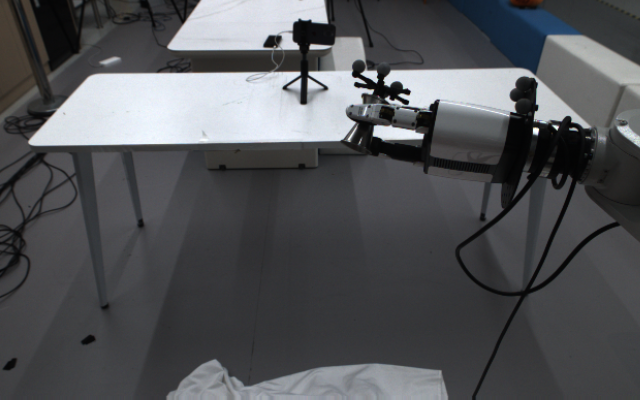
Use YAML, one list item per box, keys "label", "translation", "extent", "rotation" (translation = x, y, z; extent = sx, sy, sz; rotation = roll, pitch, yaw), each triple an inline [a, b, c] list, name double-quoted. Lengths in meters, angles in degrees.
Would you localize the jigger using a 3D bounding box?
- label: "jigger"
  translation: [0.057, -0.100, 0.625]
  extent: [0.043, 0.071, 0.043]
  rotation: [25, -3, 1]
